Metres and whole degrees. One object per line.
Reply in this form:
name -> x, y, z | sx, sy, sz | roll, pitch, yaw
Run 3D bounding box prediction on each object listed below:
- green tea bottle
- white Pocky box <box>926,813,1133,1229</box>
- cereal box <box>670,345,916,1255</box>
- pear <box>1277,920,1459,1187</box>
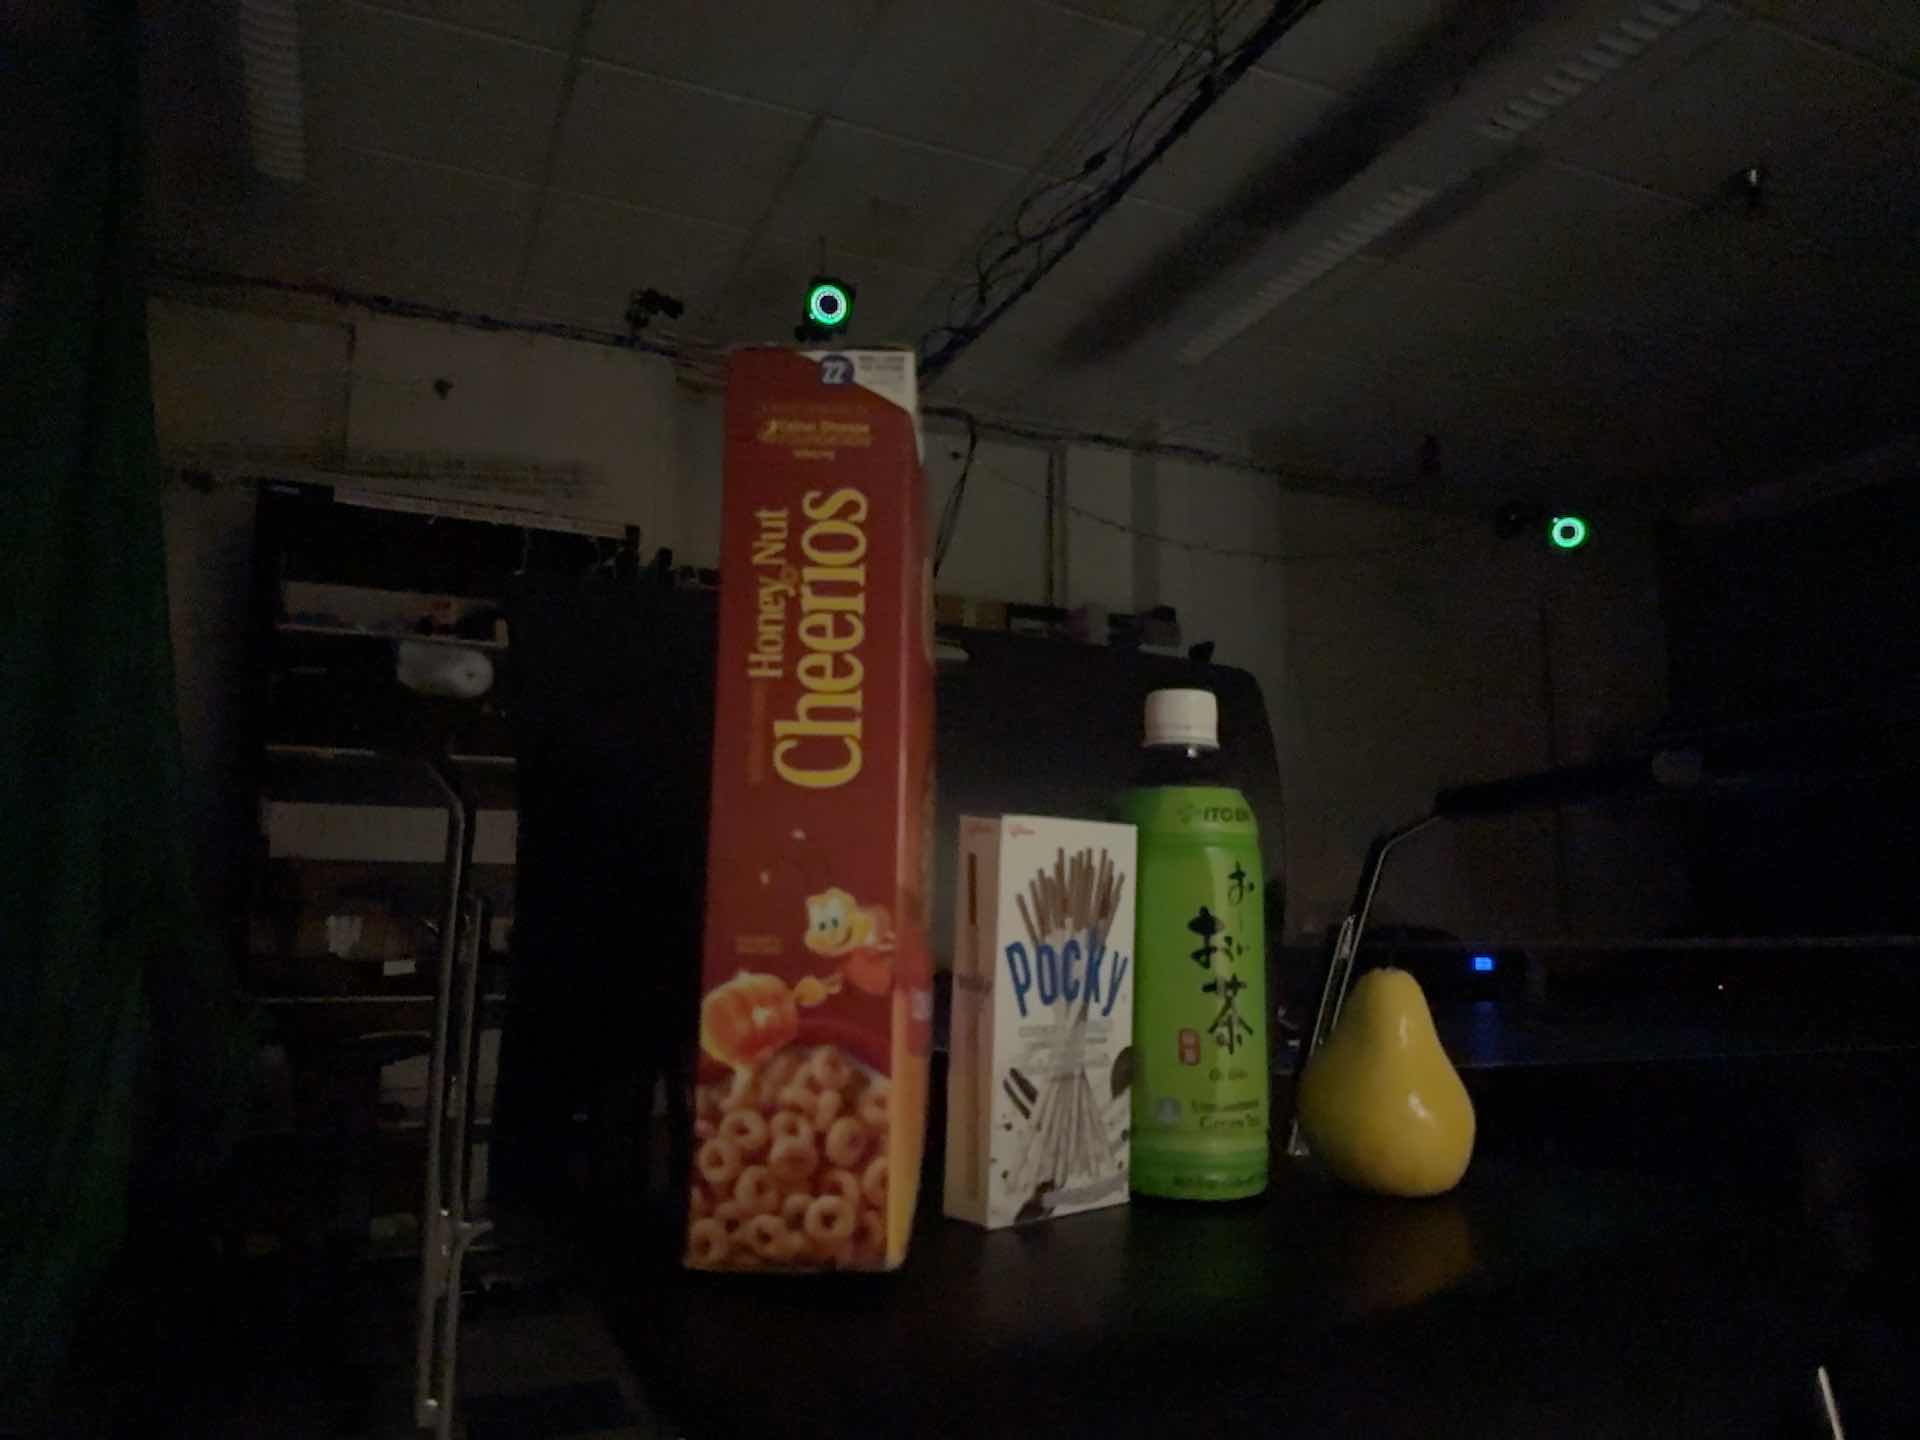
green tea bottle -> 0.089, 0.092, 0.588 | 0.073, 0.212, 0.073 | -2, -6, 0
white Pocky box -> 0.028, 0.115, 0.536 | 0.084, 0.154, 0.028 | 7, -4, -42
cereal box -> -0.058, 0.032, 0.542 | 0.065, 0.297, 0.195 | 2, -9, -2
pear -> 0.176, 0.146, 0.598 | 0.080, 0.111, 0.080 | -4, -11, -1
